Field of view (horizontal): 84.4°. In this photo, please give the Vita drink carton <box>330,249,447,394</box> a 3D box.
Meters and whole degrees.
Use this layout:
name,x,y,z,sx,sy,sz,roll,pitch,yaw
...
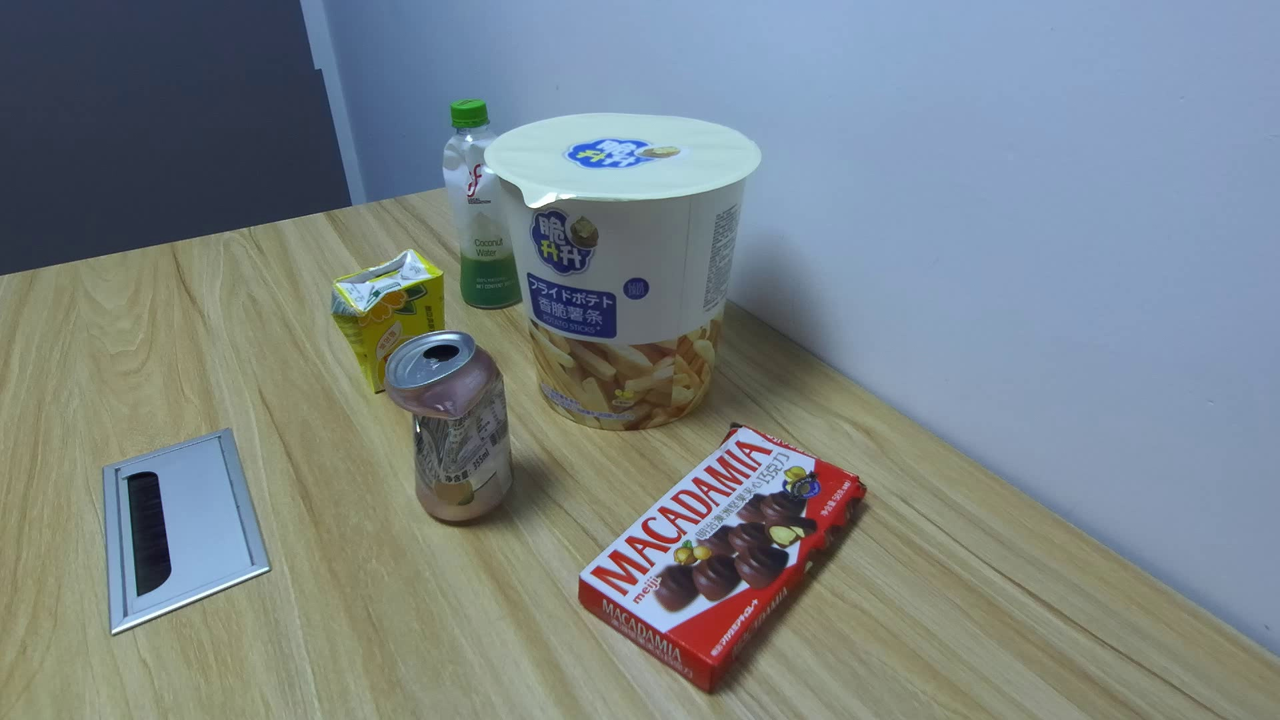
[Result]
name,x,y,z,sx,sy,sz,roll,pitch,yaw
Vita drink carton,-0.195,-0.027,0.566,0.087,0.108,0.042,-21,53,-23

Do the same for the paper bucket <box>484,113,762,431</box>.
name,x,y,z,sx,sy,sz,roll,pitch,yaw
paper bucket,-0.010,-0.067,0.541,0.198,0.195,0.198,0,34,0

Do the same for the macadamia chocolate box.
name,x,y,z,sx,sy,sz,roll,pitch,yaw
macadamia chocolate box,0.057,0.108,0.438,0.105,0.028,0.183,25,41,30

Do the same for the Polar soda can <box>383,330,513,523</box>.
name,x,y,z,sx,sy,sz,roll,pitch,yaw
Polar soda can,-0.124,0.044,0.452,0.071,0.122,0.066,7,39,12
